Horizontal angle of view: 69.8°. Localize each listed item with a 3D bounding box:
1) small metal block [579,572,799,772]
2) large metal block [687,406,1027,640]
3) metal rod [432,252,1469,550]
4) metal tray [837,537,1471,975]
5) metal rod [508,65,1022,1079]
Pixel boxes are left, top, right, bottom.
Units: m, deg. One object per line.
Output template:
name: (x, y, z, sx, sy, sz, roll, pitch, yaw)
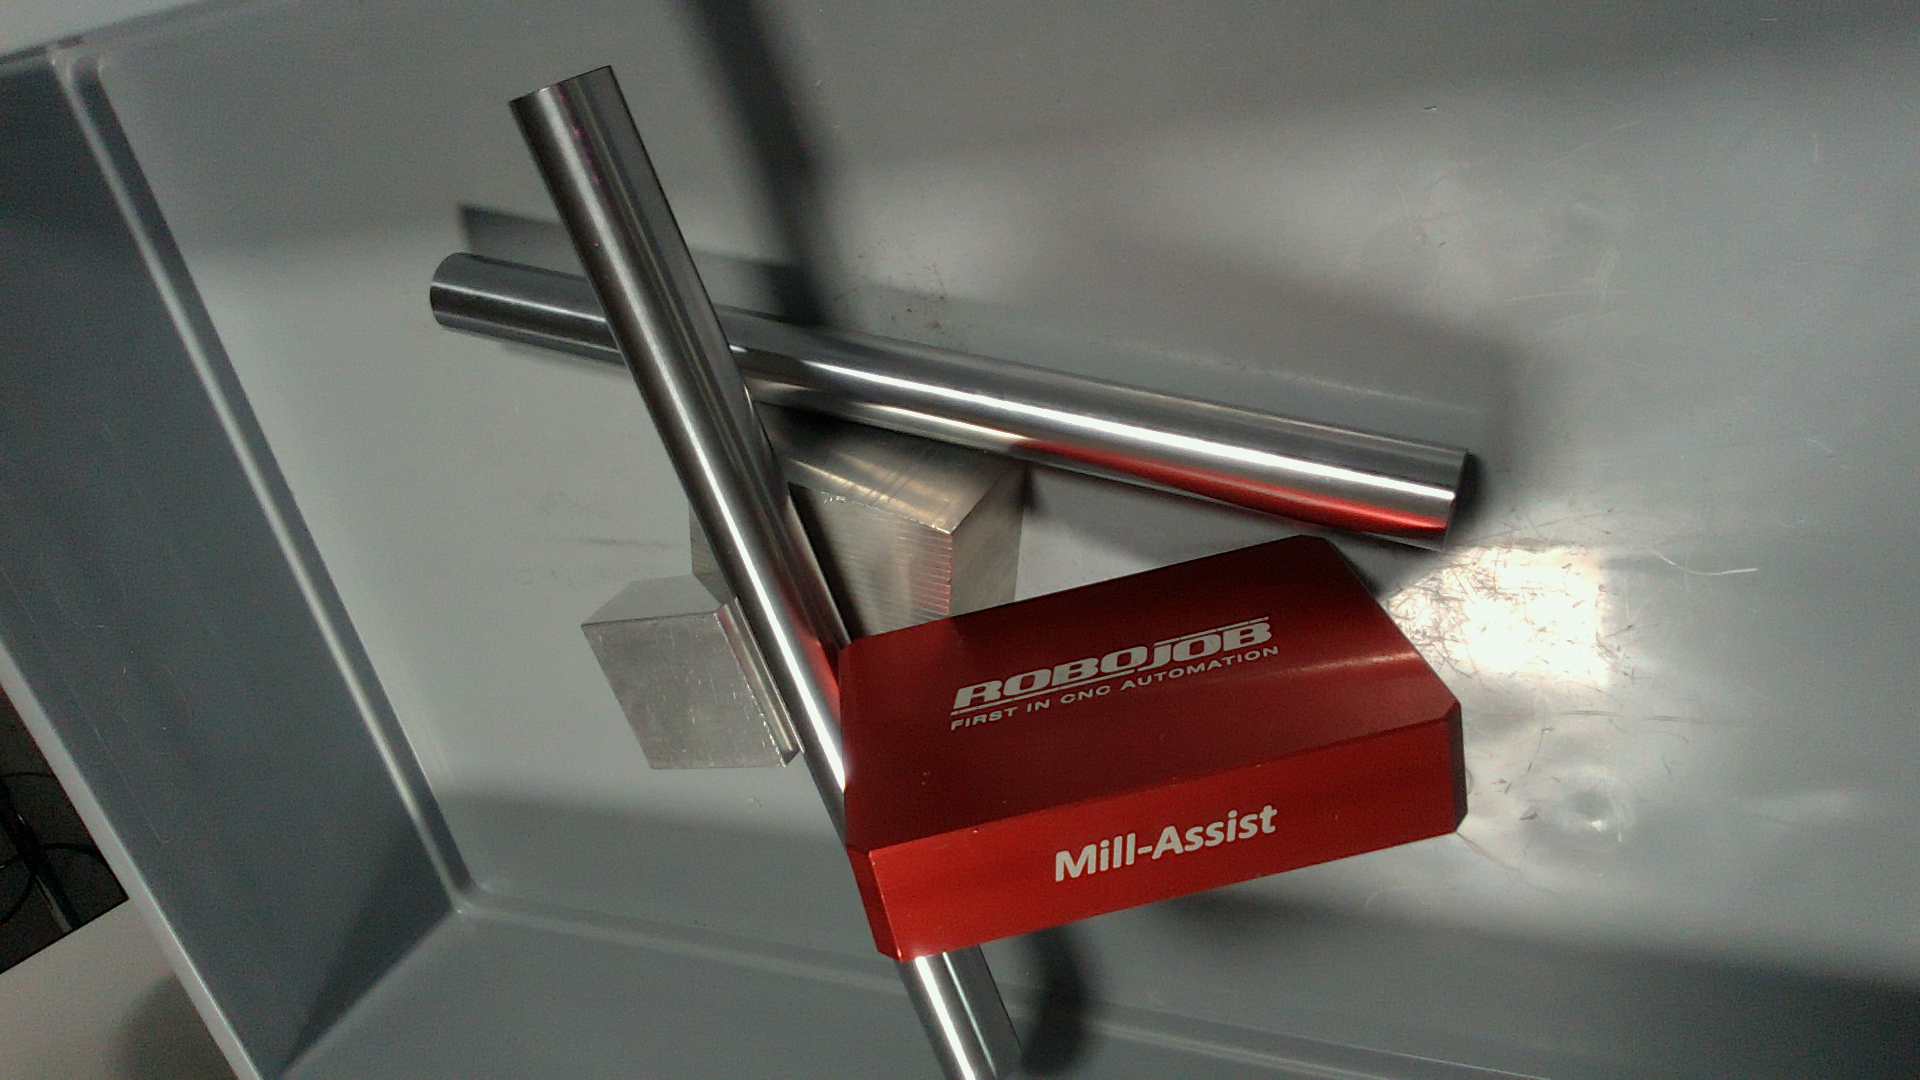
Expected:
small metal block: (-0.071, 0.037, 0.388, 0.050, 0.025, 0.050, -7, 115, 31)
large metal block: (-0.029, 0.008, 0.397, 0.080, 0.050, 0.080, 17, 125, 19)
metal rod: (-0.019, -0.043, 0.376, 0.299, 0.025, 0.025, 14, 124, 20)
metal tray: (0.039, 0.045, 0.322, 0.130, 0.090, 0.030, -14, 116, 0)
metal rod: (-0.042, 0.028, 0.367, 0.025, 0.025, 0.300, -7, 115, 31)
